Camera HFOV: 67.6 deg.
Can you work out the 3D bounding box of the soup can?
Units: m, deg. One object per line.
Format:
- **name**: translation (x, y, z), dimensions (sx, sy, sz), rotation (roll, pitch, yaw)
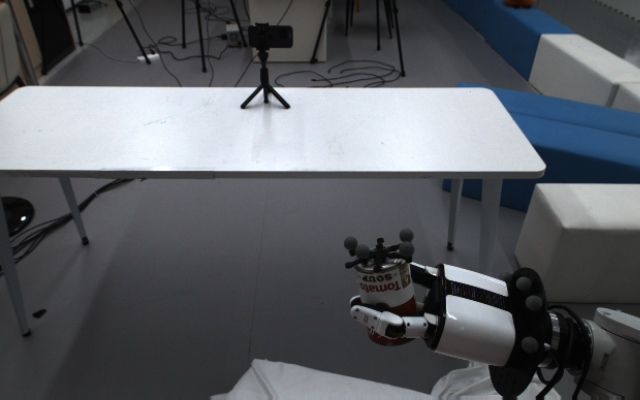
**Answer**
- **soup can**: translation (0.085, 0.115, 0.593), dimensions (0.067, 0.101, 0.067), rotation (-12, 17, 4)
